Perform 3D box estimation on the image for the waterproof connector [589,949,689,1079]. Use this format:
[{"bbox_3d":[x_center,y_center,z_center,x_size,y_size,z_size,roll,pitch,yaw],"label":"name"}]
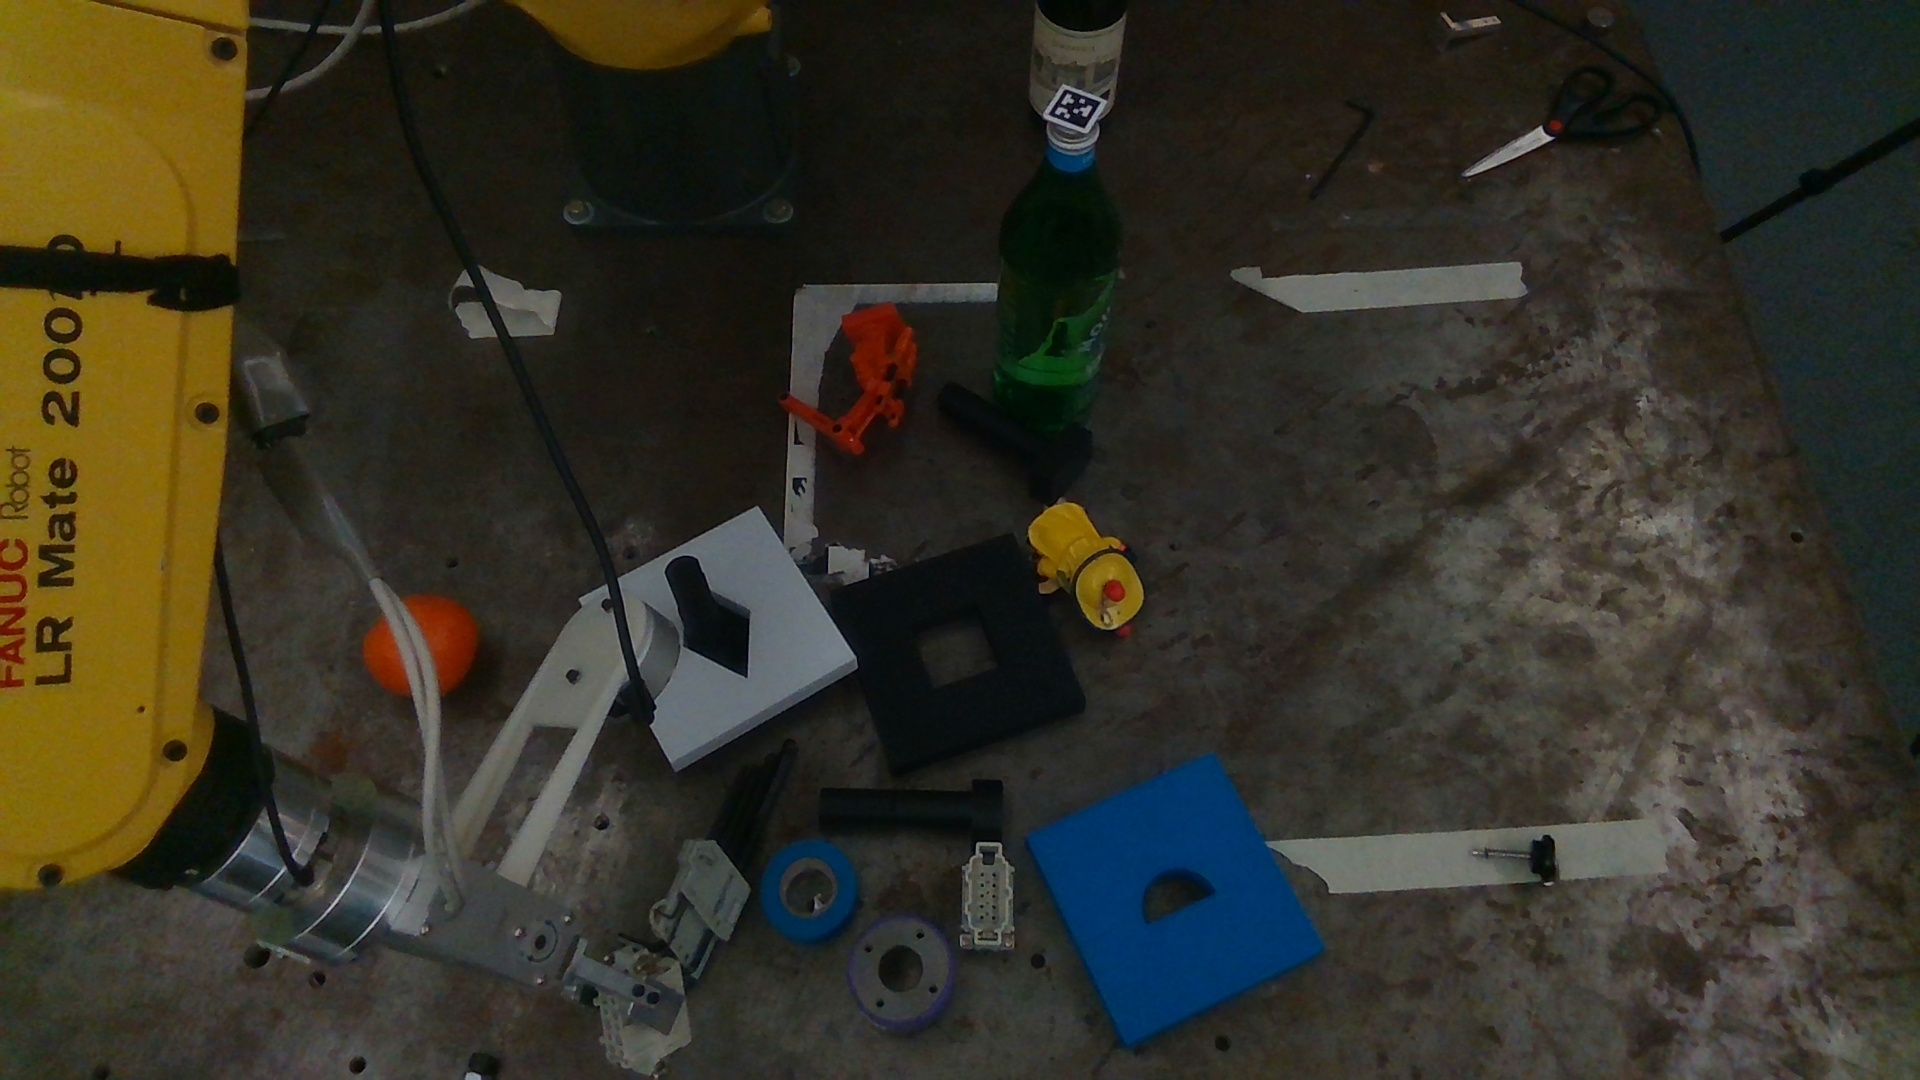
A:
[{"bbox_3d":[-0.167,0.246,0.713,0.037,0.038,0.069,-6,91,34],"label":"waterproof connector"}]
